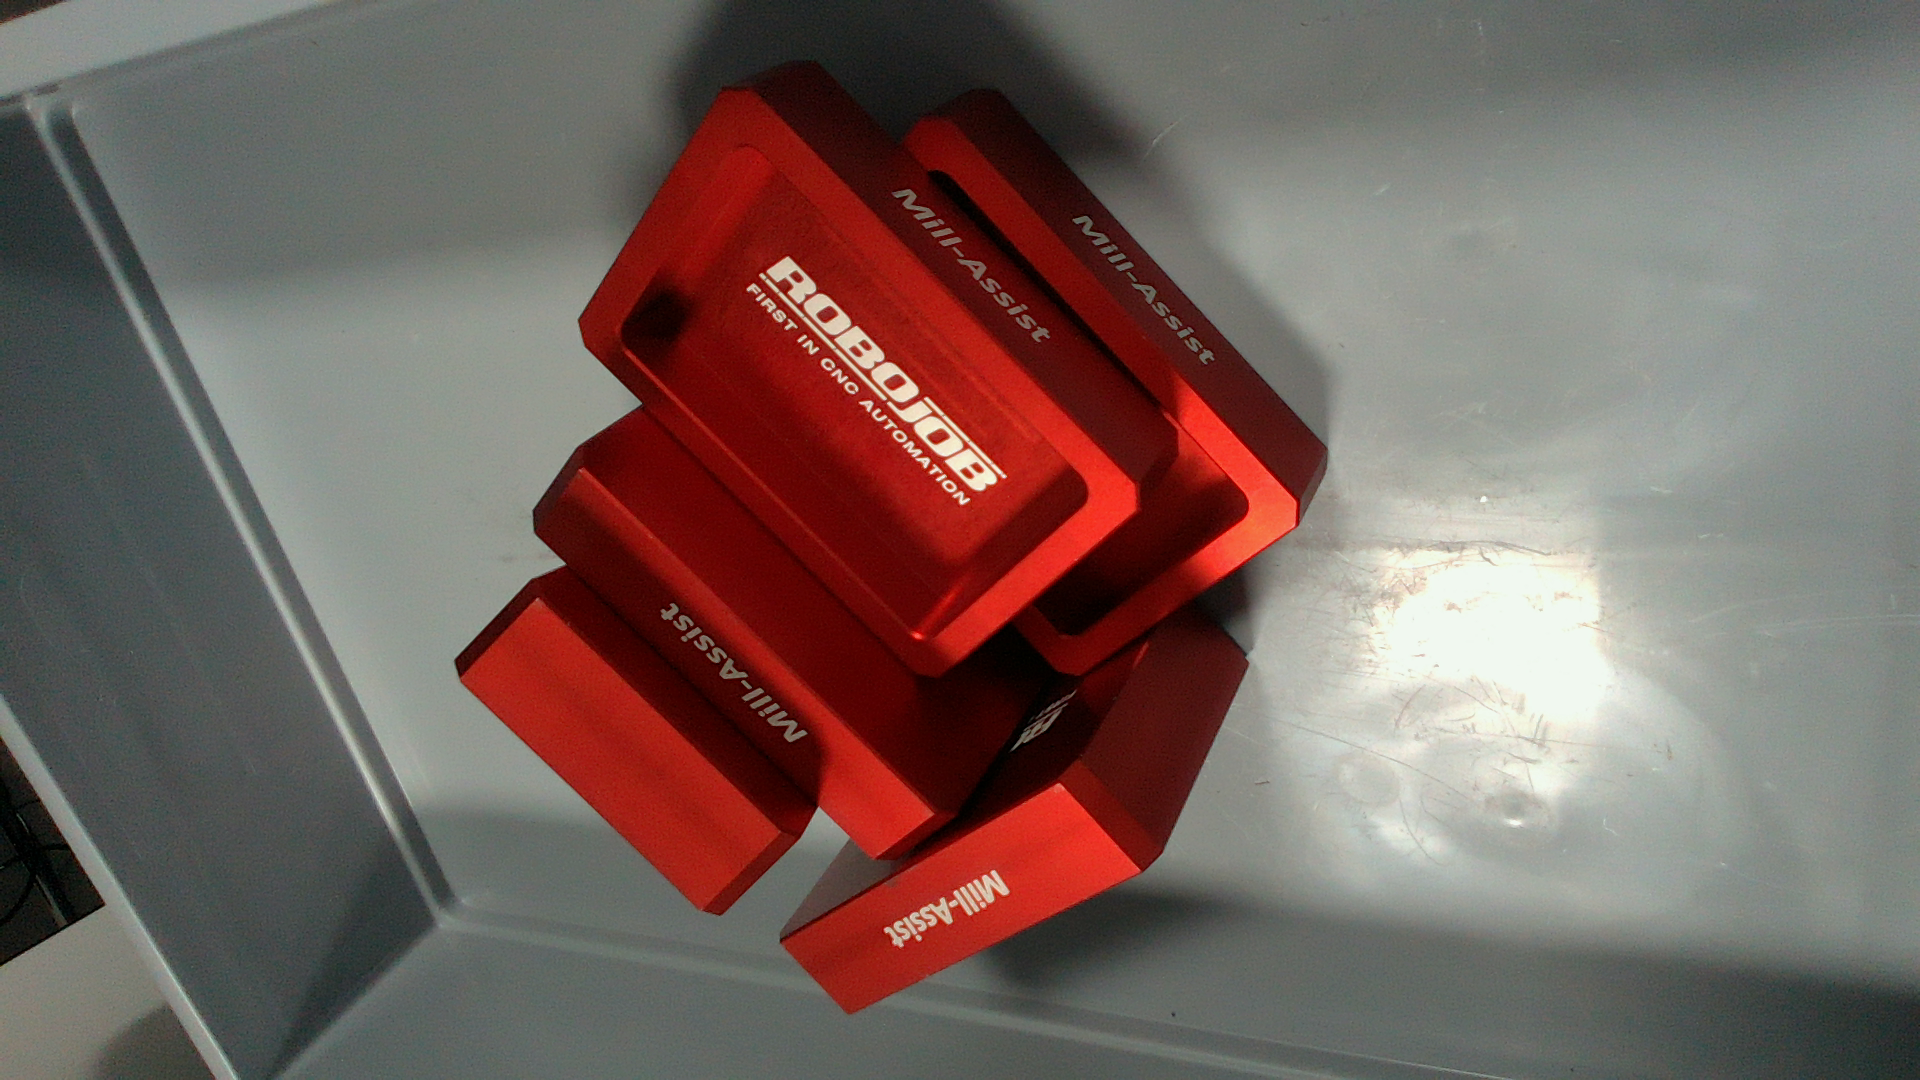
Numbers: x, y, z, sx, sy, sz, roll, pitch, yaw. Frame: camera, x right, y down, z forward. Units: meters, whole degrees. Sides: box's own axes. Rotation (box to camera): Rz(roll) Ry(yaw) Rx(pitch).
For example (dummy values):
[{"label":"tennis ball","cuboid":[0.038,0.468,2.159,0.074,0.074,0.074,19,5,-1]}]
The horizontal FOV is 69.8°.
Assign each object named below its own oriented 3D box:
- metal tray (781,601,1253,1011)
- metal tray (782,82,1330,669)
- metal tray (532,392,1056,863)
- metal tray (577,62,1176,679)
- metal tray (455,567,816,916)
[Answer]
[{"label":"metal tray","cuboid":[0.015,0.074,0.387,0.030,0.090,0.130,48,129,-5]},{"label":"metal tray","cuboid":[0.019,-0.038,0.356,0.130,0.030,0.090,48,131,-4]},{"label":"metal tray","cuboid":[-0.038,0.012,0.376,0.130,0.090,0.030,45,129,-3]},{"label":"metal tray","cuboid":[-0.023,-0.038,0.338,0.130,0.030,0.090,45,130,-3]},{"label":"metal tray","cuboid":[-0.076,0.042,0.392,0.090,0.130,0.030,45,99,-3]}]
